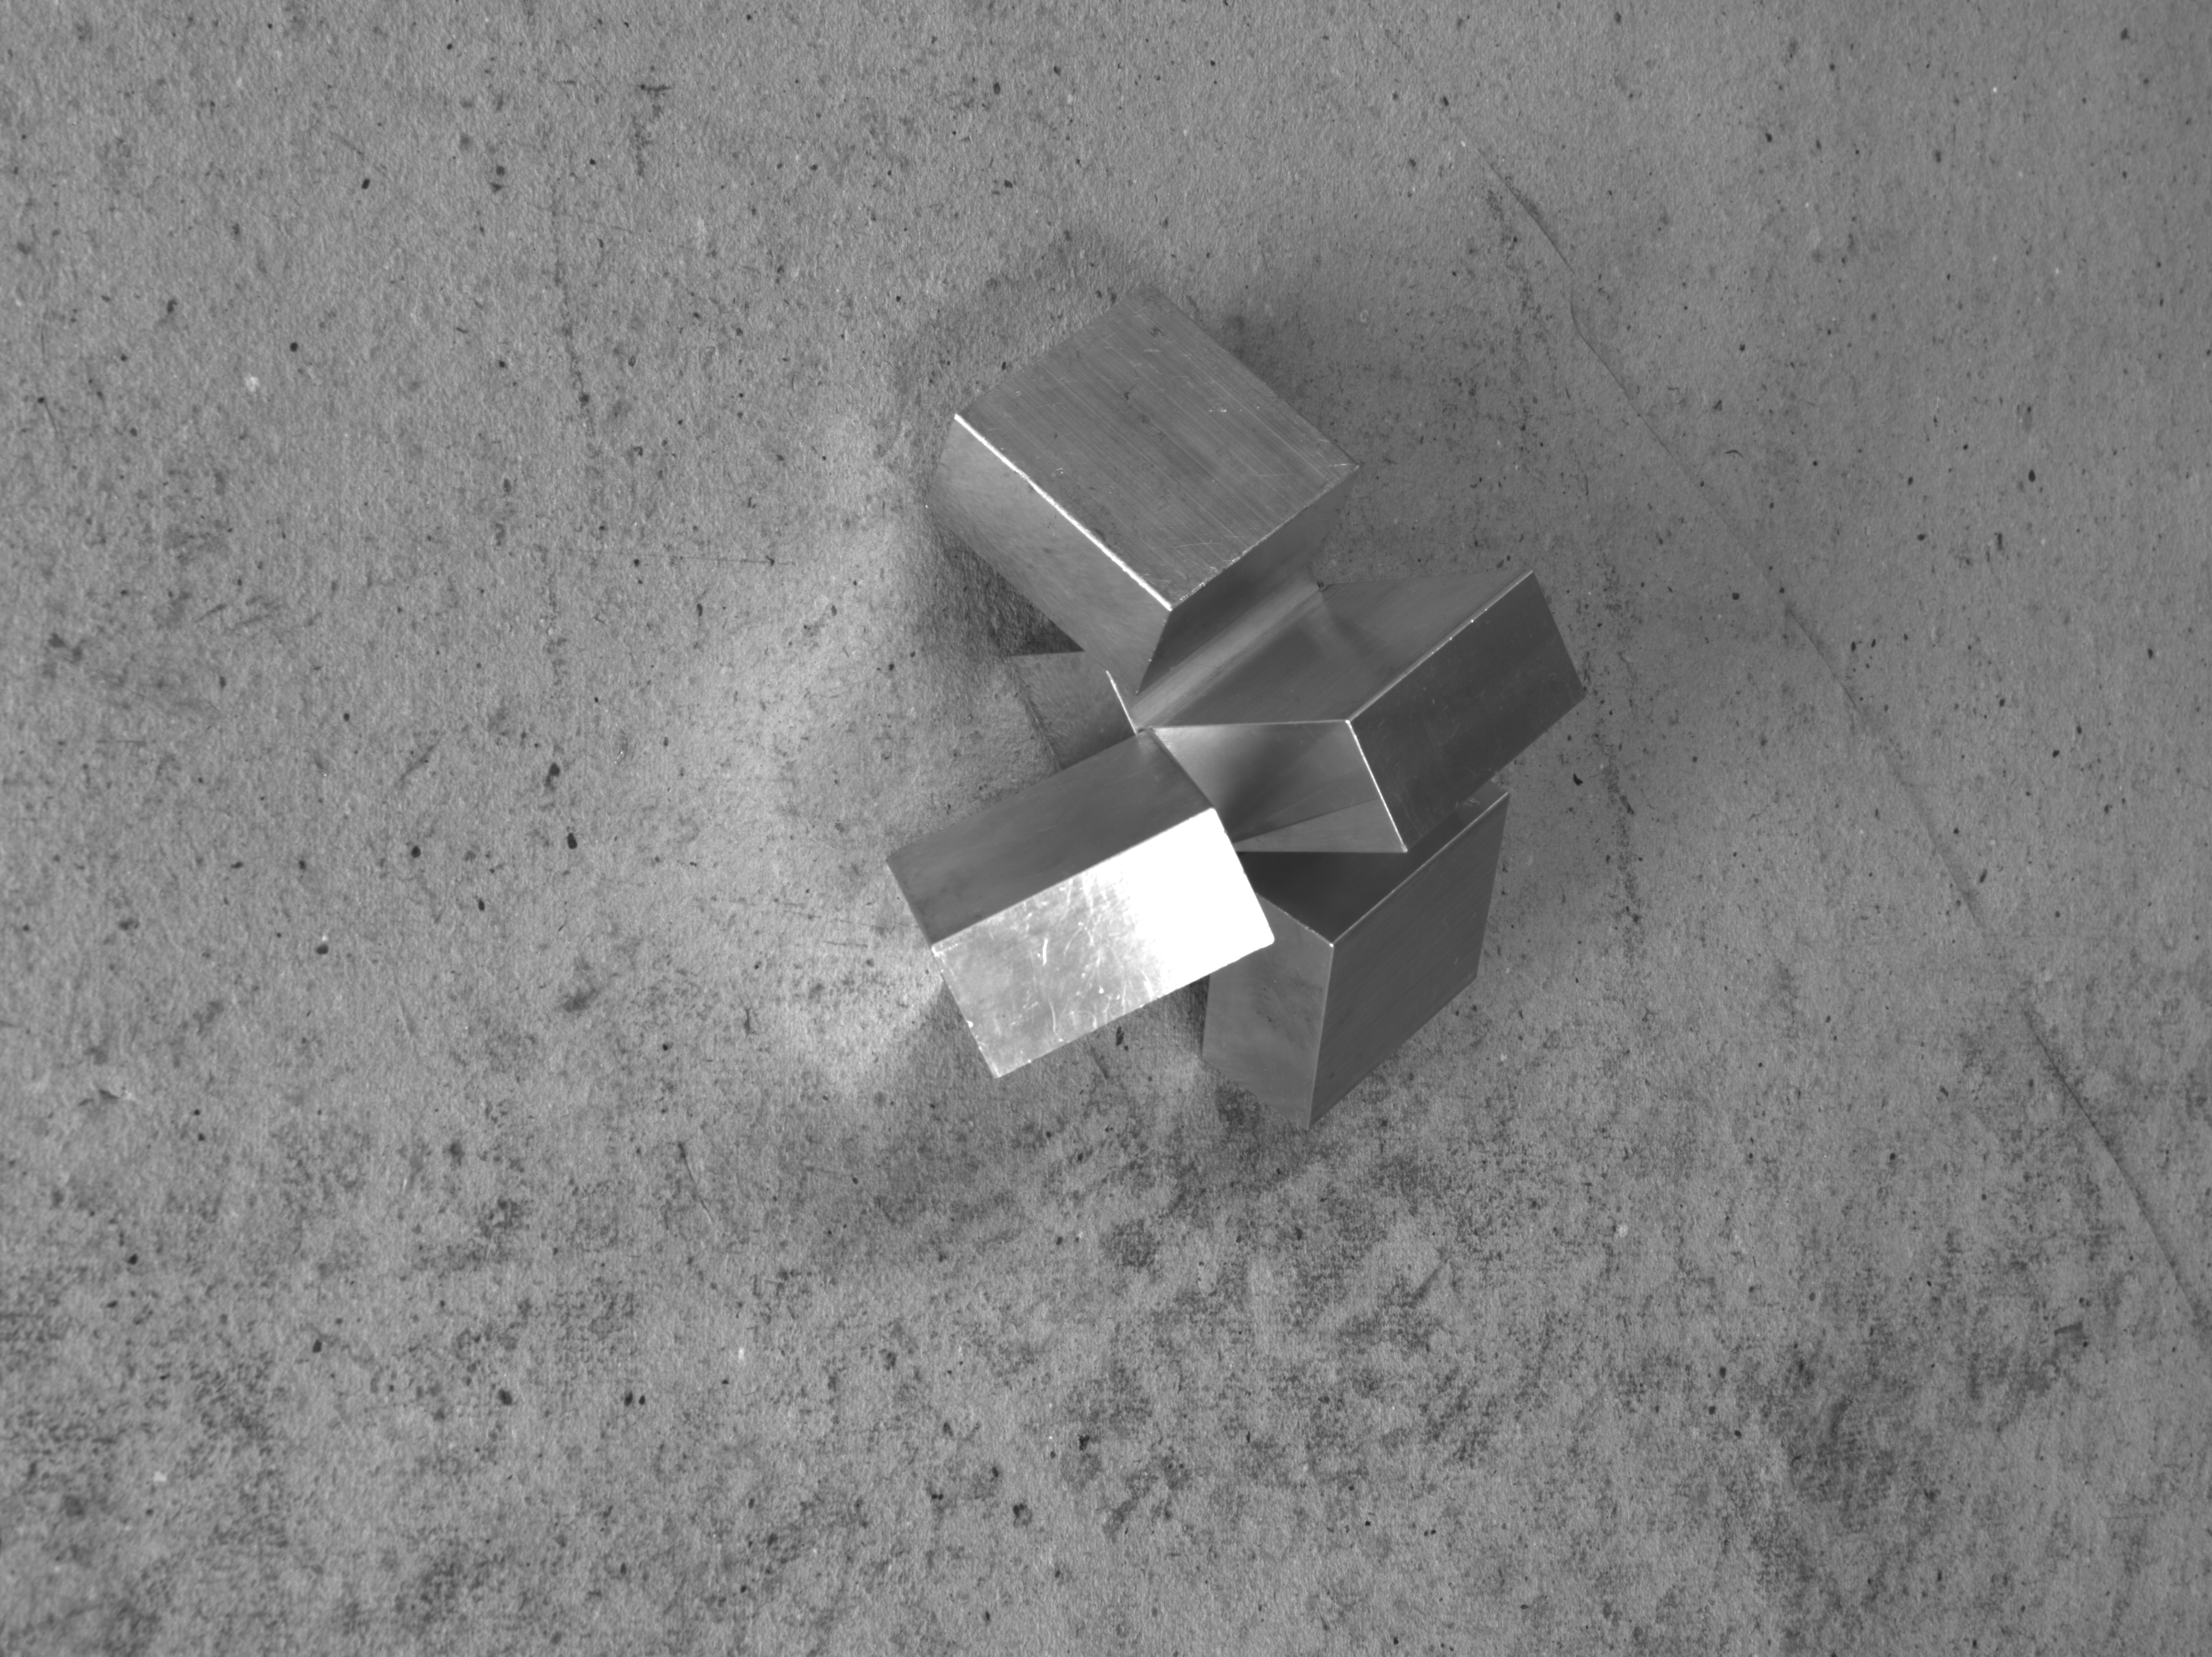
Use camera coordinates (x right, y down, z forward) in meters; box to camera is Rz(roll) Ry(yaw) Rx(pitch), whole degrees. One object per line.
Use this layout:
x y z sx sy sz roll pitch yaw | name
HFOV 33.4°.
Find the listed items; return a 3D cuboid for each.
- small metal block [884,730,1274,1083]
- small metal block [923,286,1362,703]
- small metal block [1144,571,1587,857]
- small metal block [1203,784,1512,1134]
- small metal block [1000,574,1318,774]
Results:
-0.005 0.012 0.604 0.050 0.050 0.025 -26 110 -3 | small metal block
0.006 -0.057 0.626 0.050 0.025 0.050 42 56 14 | small metal block
0.044 -0.019 0.625 0.050 0.050 0.025 -39 114 -33 | small metal block
0.044 0.018 0.657 0.050 0.025 0.050 -39 150 -32 | small metal block
0.017 -0.022 0.651 0.050 0.025 0.050 -37 112 -31 | small metal block
